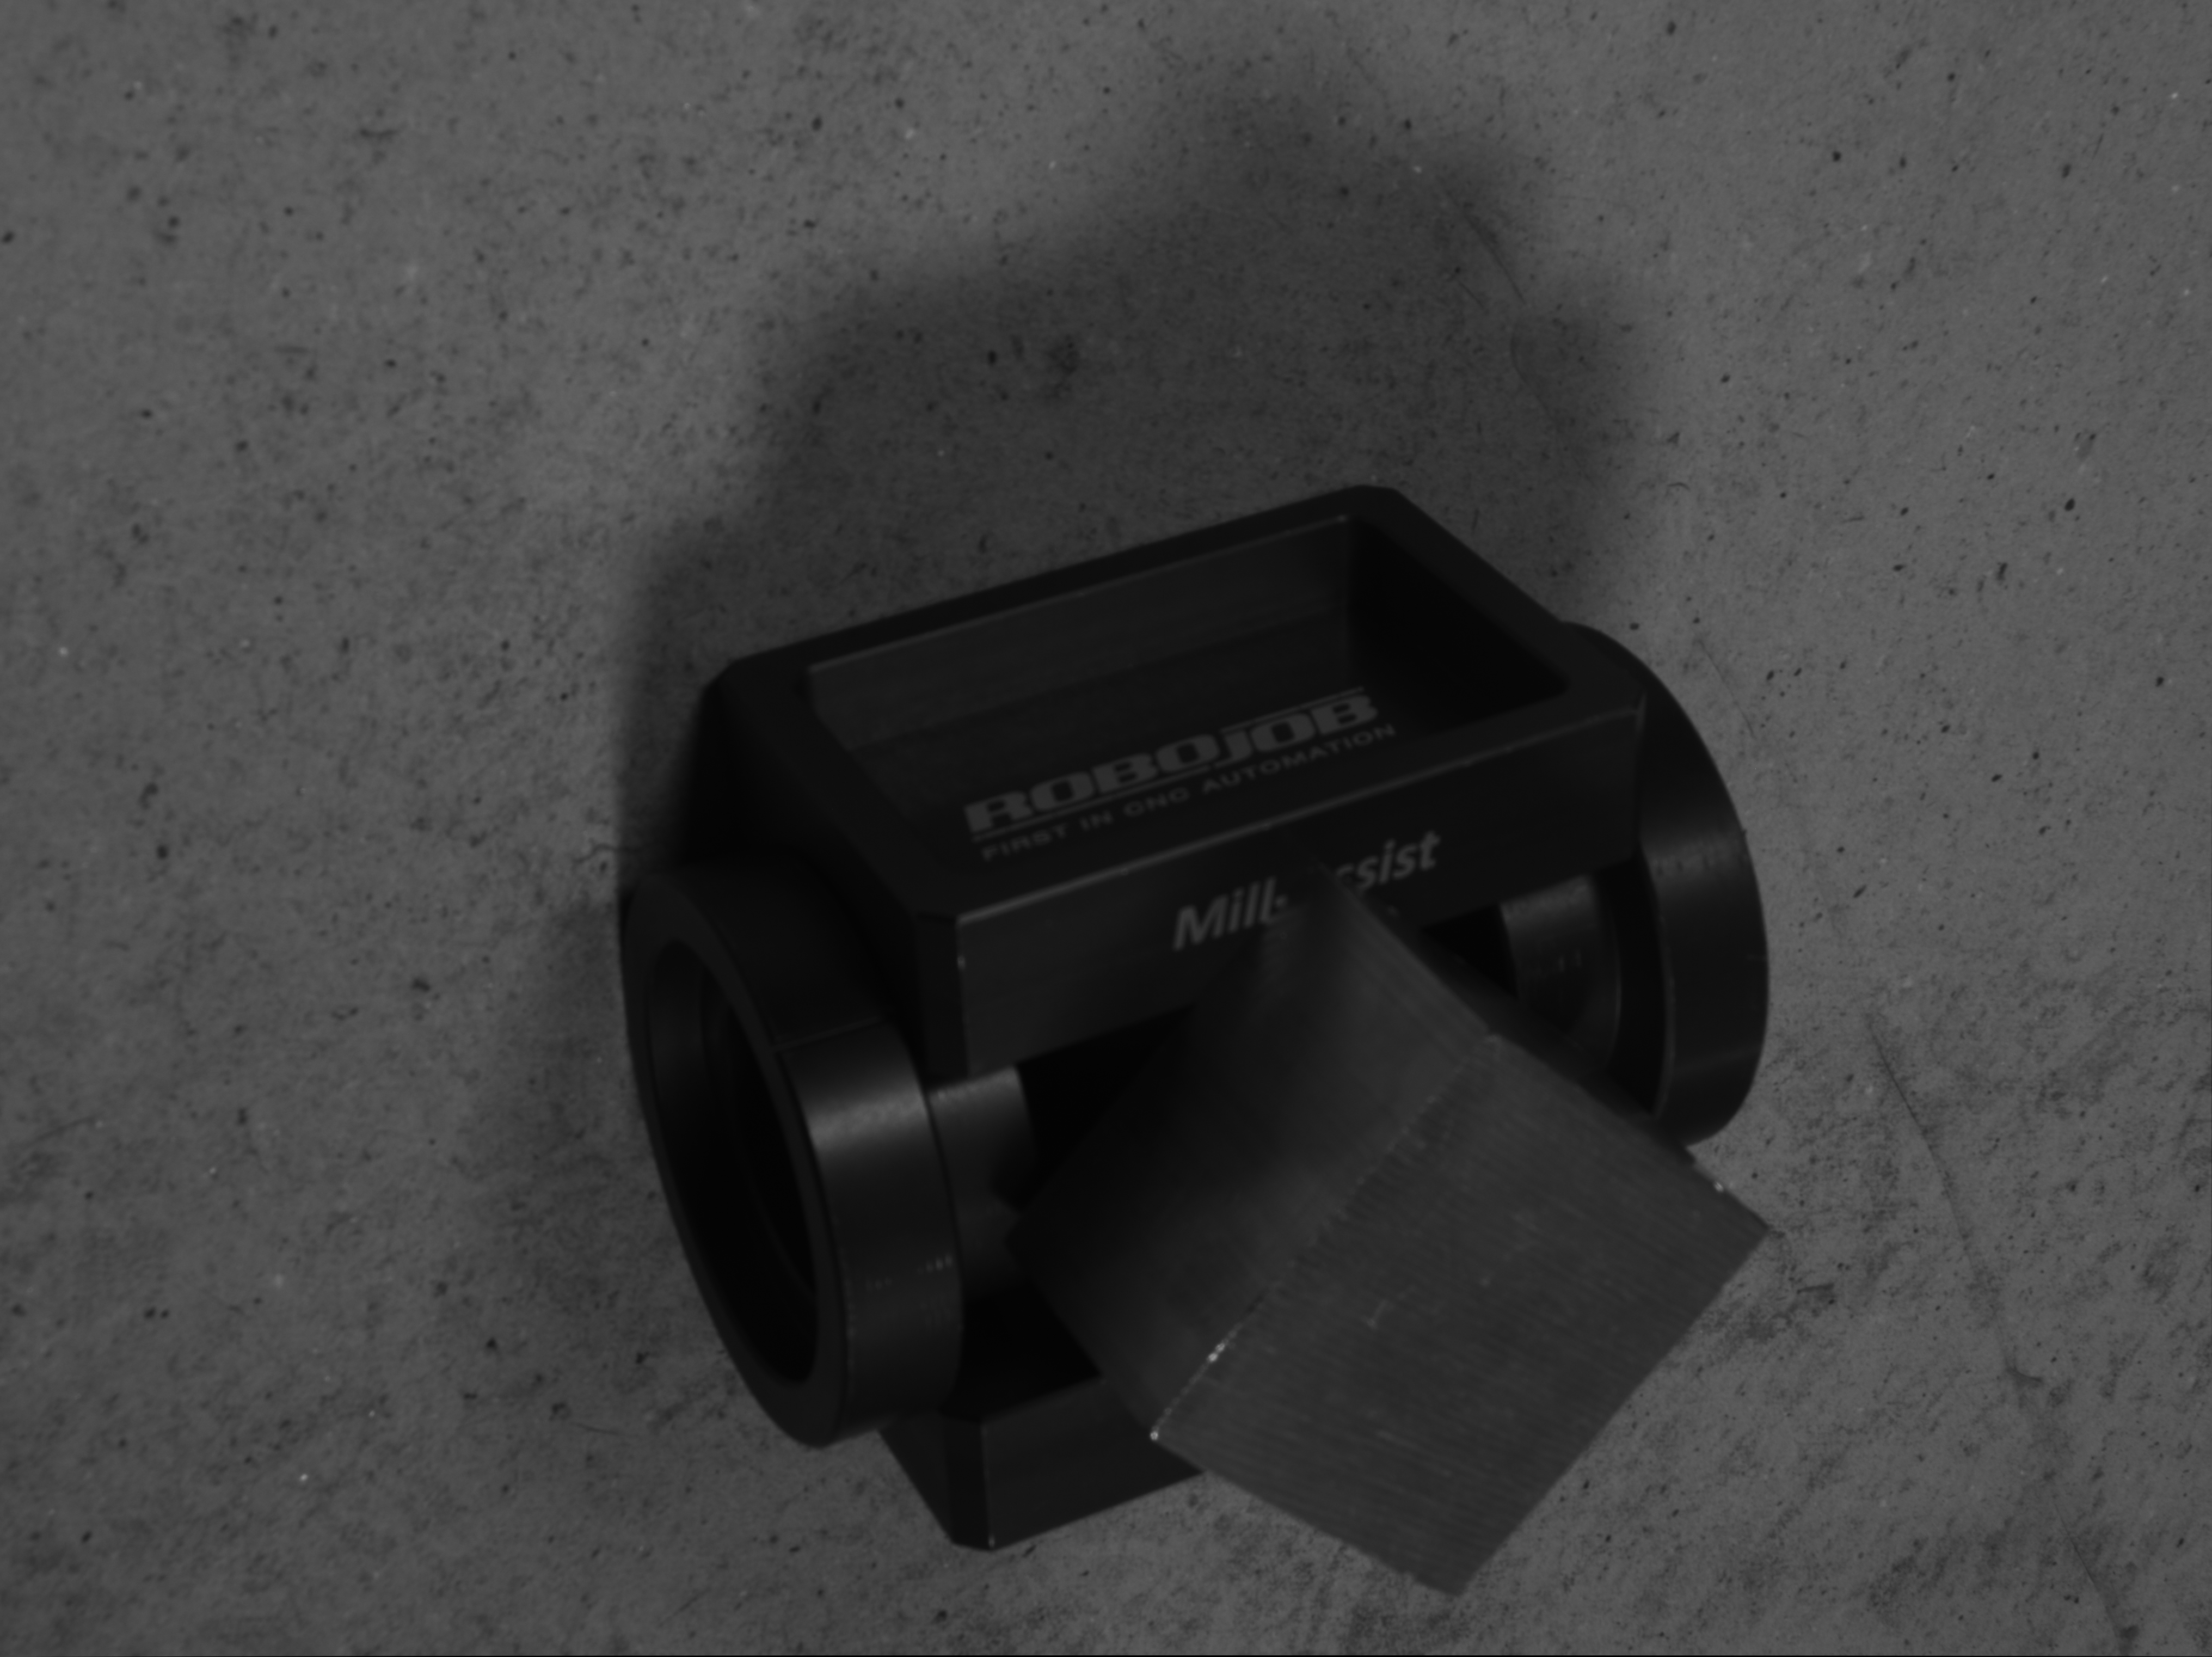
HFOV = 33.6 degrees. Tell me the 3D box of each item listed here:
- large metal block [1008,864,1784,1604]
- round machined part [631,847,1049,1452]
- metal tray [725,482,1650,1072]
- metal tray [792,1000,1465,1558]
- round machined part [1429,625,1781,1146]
[{"bbox_3d":[0.046,0.065,0.581,0.080,0.050,0.080,-50,130,6],"label":"large metal block"},{"bbox_3d":[-0.042,0.050,0.609,0.042,0.098,0.098,-15,125,-22],"label":"round machined part"},{"bbox_3d":[0.013,-0.012,0.610,0.130,0.090,0.030,-17,126,-21],"label":"metal tray"},{"bbox_3d":[0.016,0.073,0.661,0.130,0.090,0.030,-17,125,-21],"label":"metal tray"},{"bbox_3d":[0.075,0.016,0.657,0.042,0.098,0.098,-15,125,-22],"label":"round machined part"}]
